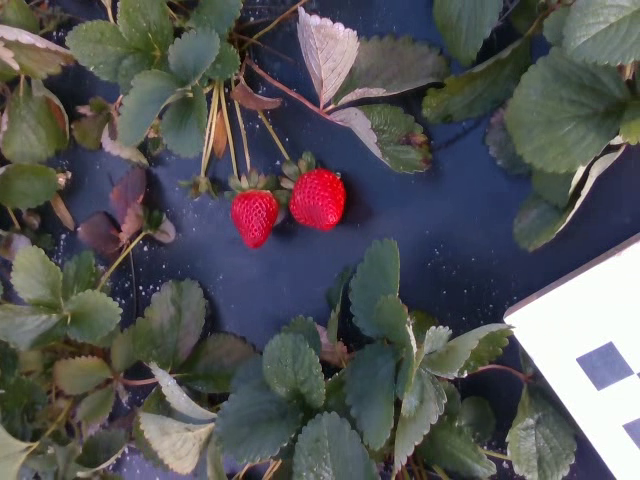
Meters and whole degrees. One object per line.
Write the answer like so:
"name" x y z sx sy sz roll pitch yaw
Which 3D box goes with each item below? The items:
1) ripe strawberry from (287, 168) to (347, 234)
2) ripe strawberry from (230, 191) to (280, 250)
"ripe strawberry" -0.005 -0.028 0.483 0.051 0.058 0.064 15 25 -39
"ripe strawberry" -0.057 -0.017 0.515 0.048 0.056 0.041 -21 -24 26
